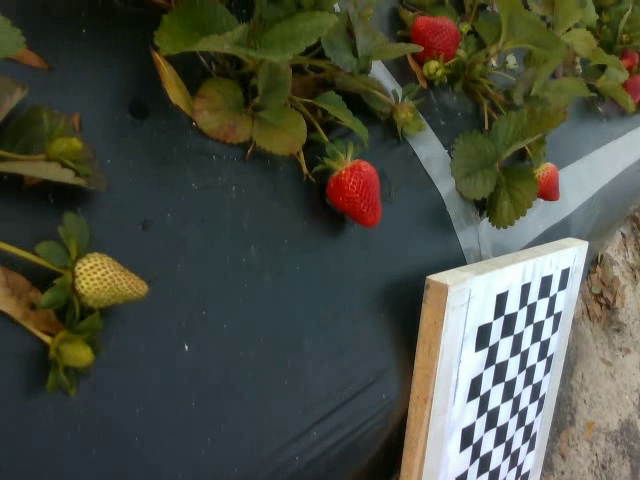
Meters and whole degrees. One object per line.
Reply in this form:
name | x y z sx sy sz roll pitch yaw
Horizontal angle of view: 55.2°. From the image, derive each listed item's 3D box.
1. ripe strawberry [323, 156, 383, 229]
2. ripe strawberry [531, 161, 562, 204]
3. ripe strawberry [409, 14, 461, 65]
ripe strawberry | 0.024 -0.029 0.365 0.036 0.046 0.040 -21 -17 -30
ripe strawberry | 0.214 -0.056 0.606 0.039 0.046 0.041 -40 33 -19
ripe strawberry | 0.096 -0.177 0.521 0.062 0.043 0.043 19 5 -41
